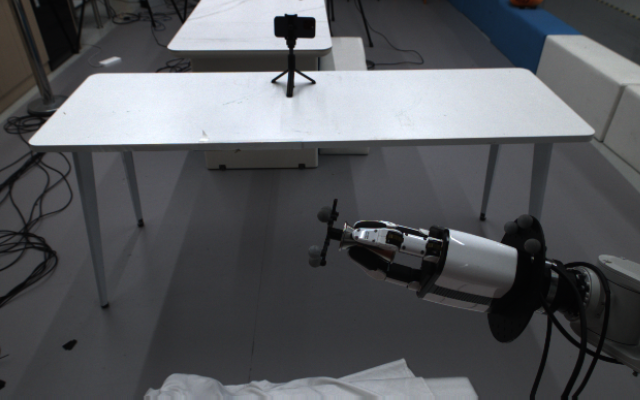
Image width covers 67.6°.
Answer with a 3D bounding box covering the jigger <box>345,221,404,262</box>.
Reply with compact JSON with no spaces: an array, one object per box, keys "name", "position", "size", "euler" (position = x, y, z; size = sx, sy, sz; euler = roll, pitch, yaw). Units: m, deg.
[{"name":"jigger","position":[0.068,0.049,0.612],"size":[0.071,0.043,0.043],"euler":[13,36,4]}]
